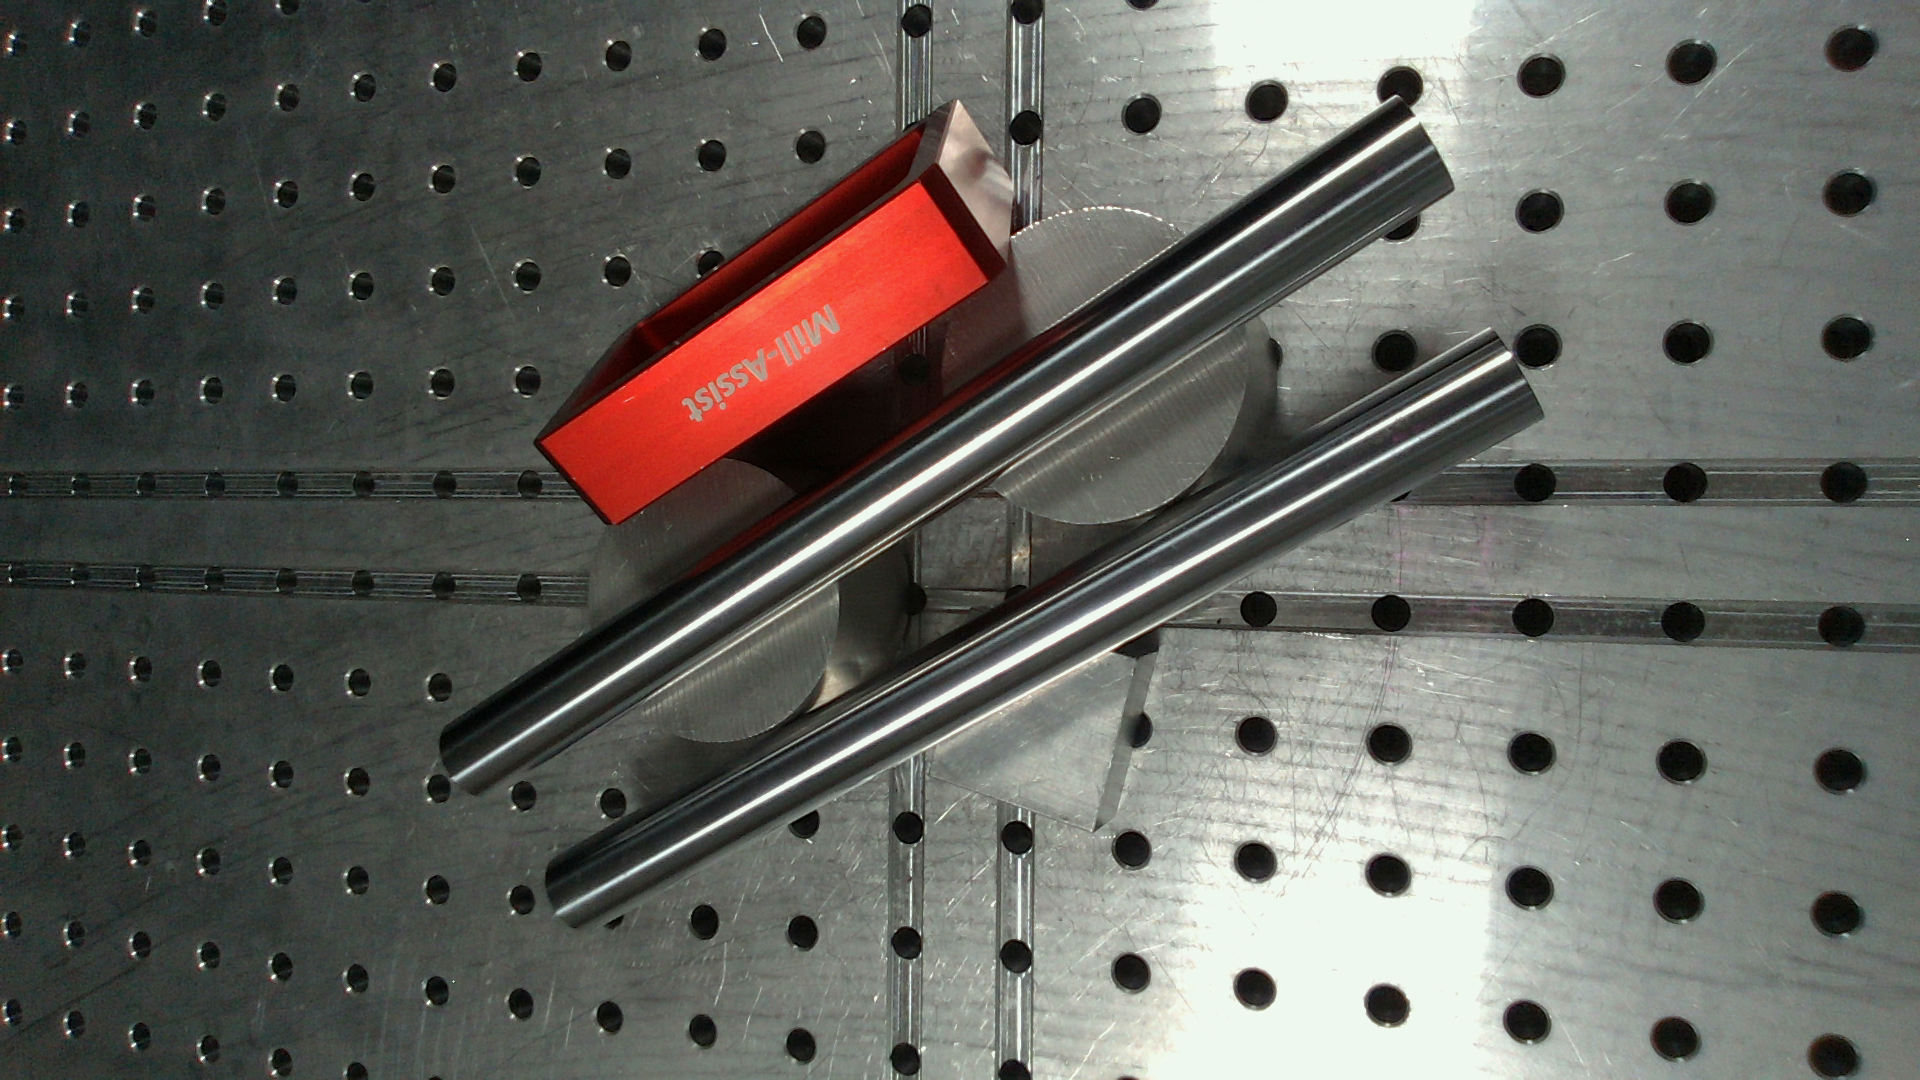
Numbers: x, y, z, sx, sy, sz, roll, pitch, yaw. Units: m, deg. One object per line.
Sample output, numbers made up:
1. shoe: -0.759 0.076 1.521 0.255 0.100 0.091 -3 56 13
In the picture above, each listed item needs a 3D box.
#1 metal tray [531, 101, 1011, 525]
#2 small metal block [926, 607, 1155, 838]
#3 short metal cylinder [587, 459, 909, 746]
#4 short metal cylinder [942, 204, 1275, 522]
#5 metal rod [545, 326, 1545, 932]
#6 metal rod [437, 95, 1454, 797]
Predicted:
1. metal tray: -0.048 -0.064 0.380 0.130 0.090 0.030 -31 112 17
2. small metal block: 0.023 0.050 0.389 0.050 0.025 0.050 16 95 19
3. short metal cylinder: -0.062 0.017 0.407 0.080 0.050 0.080 0 90 20
4. short metal cylinder: 0.041 -0.045 0.370 0.080 0.050 0.080 0 90 20
5. metal rod: 0.008 0.033 0.368 0.299 0.025 0.025 -31 80 17
6. metal rod: -0.018 -0.013 0.351 0.299 0.025 0.025 -32 80 17
